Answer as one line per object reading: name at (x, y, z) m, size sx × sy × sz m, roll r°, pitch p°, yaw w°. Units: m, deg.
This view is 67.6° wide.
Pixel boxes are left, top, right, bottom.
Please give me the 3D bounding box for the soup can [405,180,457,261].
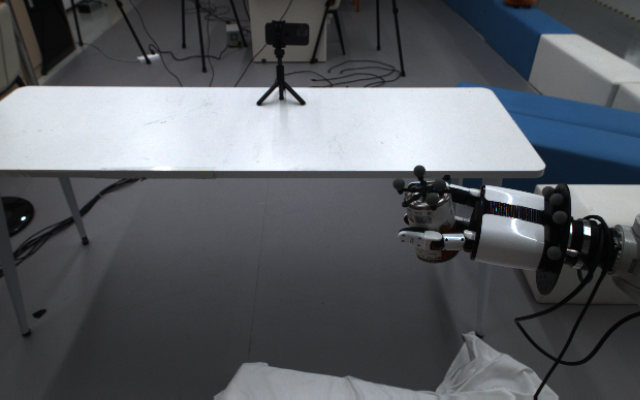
soup can at (0.167, 0.033, 0.711) m, size 0.067 × 0.101 × 0.067 m, roll -13°, pitch 31°, yaw 8°
